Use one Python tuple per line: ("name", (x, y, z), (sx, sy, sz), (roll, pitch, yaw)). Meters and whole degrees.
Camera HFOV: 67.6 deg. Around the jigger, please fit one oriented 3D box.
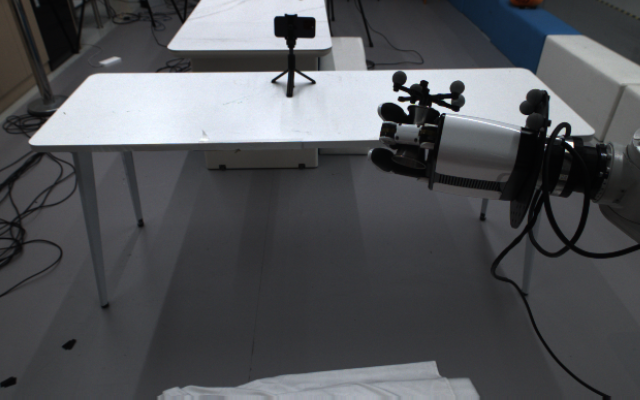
("jigger", (0.119, -0.076, 0.590), (0.043, 0.071, 0.043), (16, -7, 2))
